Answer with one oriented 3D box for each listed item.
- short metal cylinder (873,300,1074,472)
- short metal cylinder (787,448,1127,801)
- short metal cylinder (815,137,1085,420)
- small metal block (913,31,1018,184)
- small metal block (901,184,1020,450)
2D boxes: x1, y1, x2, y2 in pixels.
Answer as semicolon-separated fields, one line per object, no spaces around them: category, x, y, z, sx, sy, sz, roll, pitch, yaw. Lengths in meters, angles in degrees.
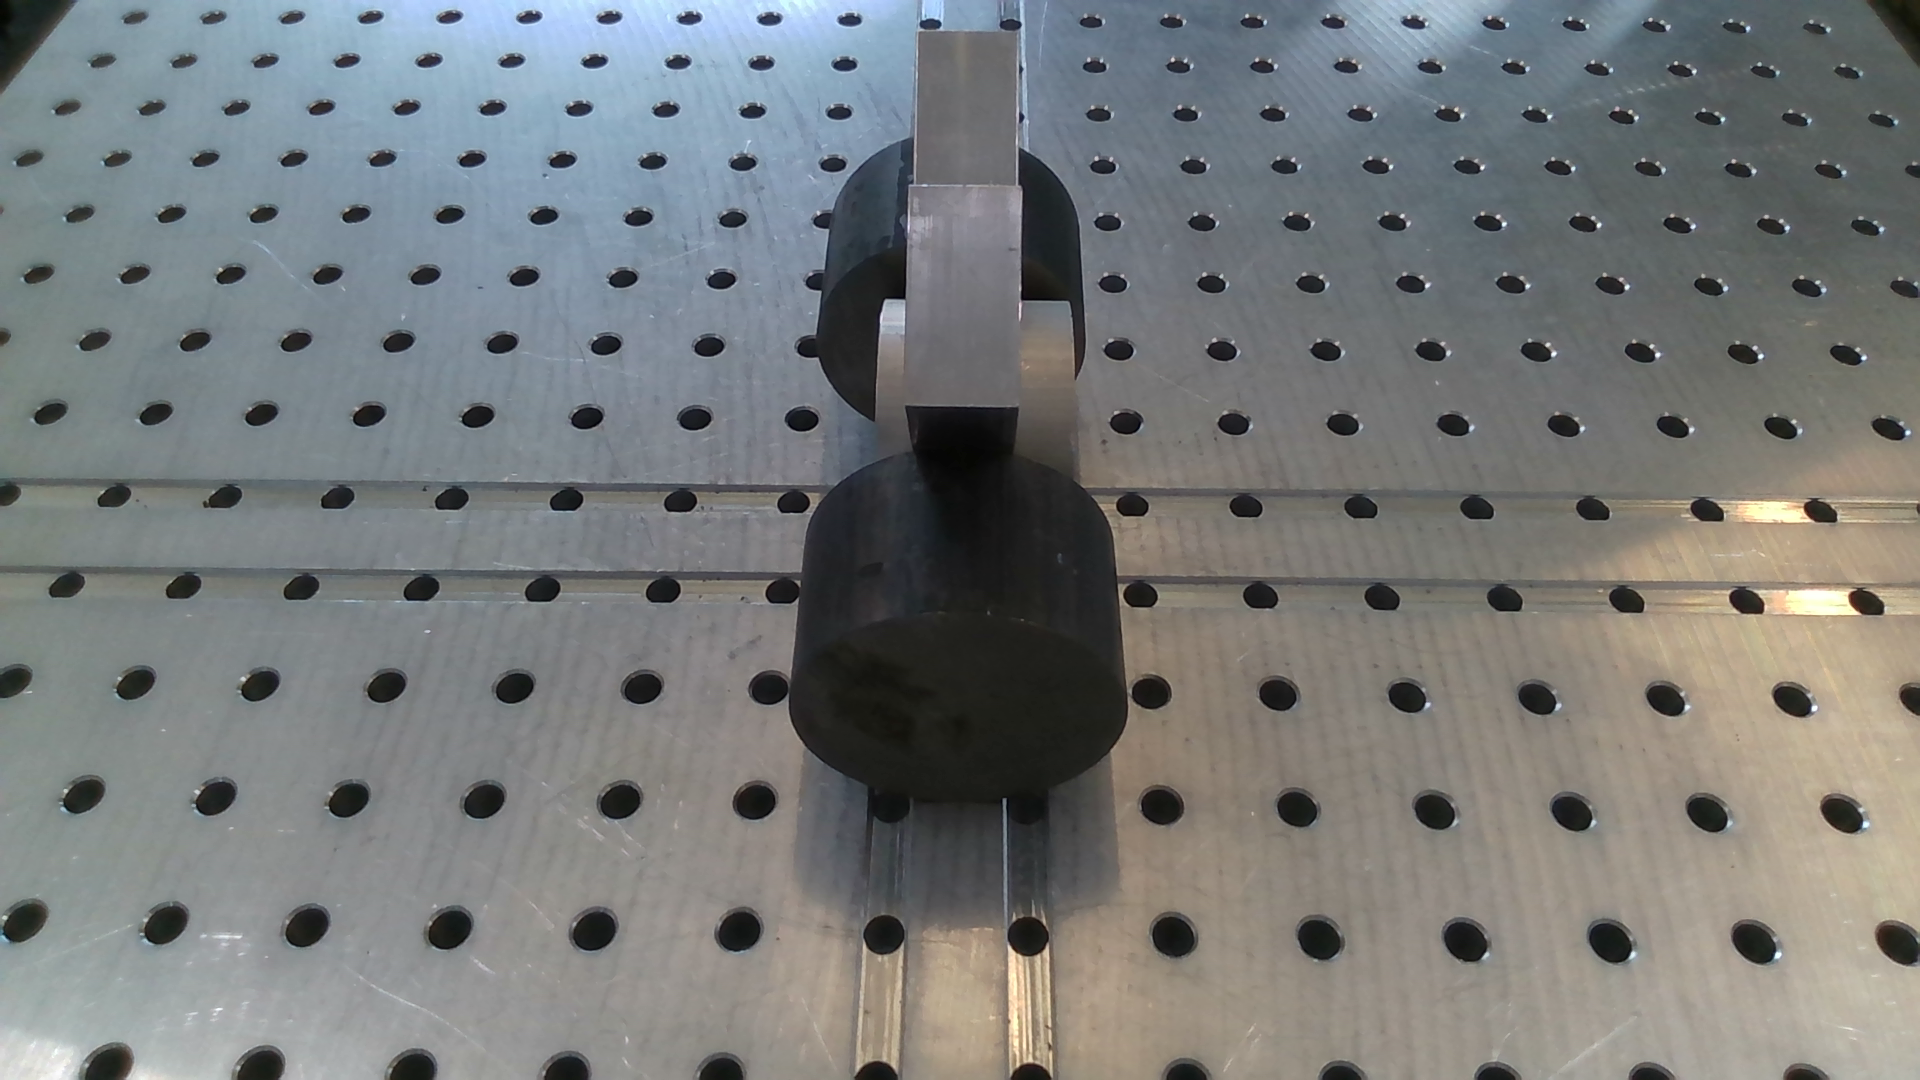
short metal cylinder;0.004;-0.027;0.383;0.050;0.080;0.080;1;50;1
short metal cylinder;-0.001;0.022;0.341;0.080;0.080;0.050;0;49;0
short metal cylinder;-0.003;-0.077;0.425;0.080;0.080;0.050;1;50;1
small metal block;0.002;-0.094;0.353;0.025;0.050;0.050;0;82;0
small metal block;0.000;-0.049;0.321;0.025;0.050;0.050;0;81;0
